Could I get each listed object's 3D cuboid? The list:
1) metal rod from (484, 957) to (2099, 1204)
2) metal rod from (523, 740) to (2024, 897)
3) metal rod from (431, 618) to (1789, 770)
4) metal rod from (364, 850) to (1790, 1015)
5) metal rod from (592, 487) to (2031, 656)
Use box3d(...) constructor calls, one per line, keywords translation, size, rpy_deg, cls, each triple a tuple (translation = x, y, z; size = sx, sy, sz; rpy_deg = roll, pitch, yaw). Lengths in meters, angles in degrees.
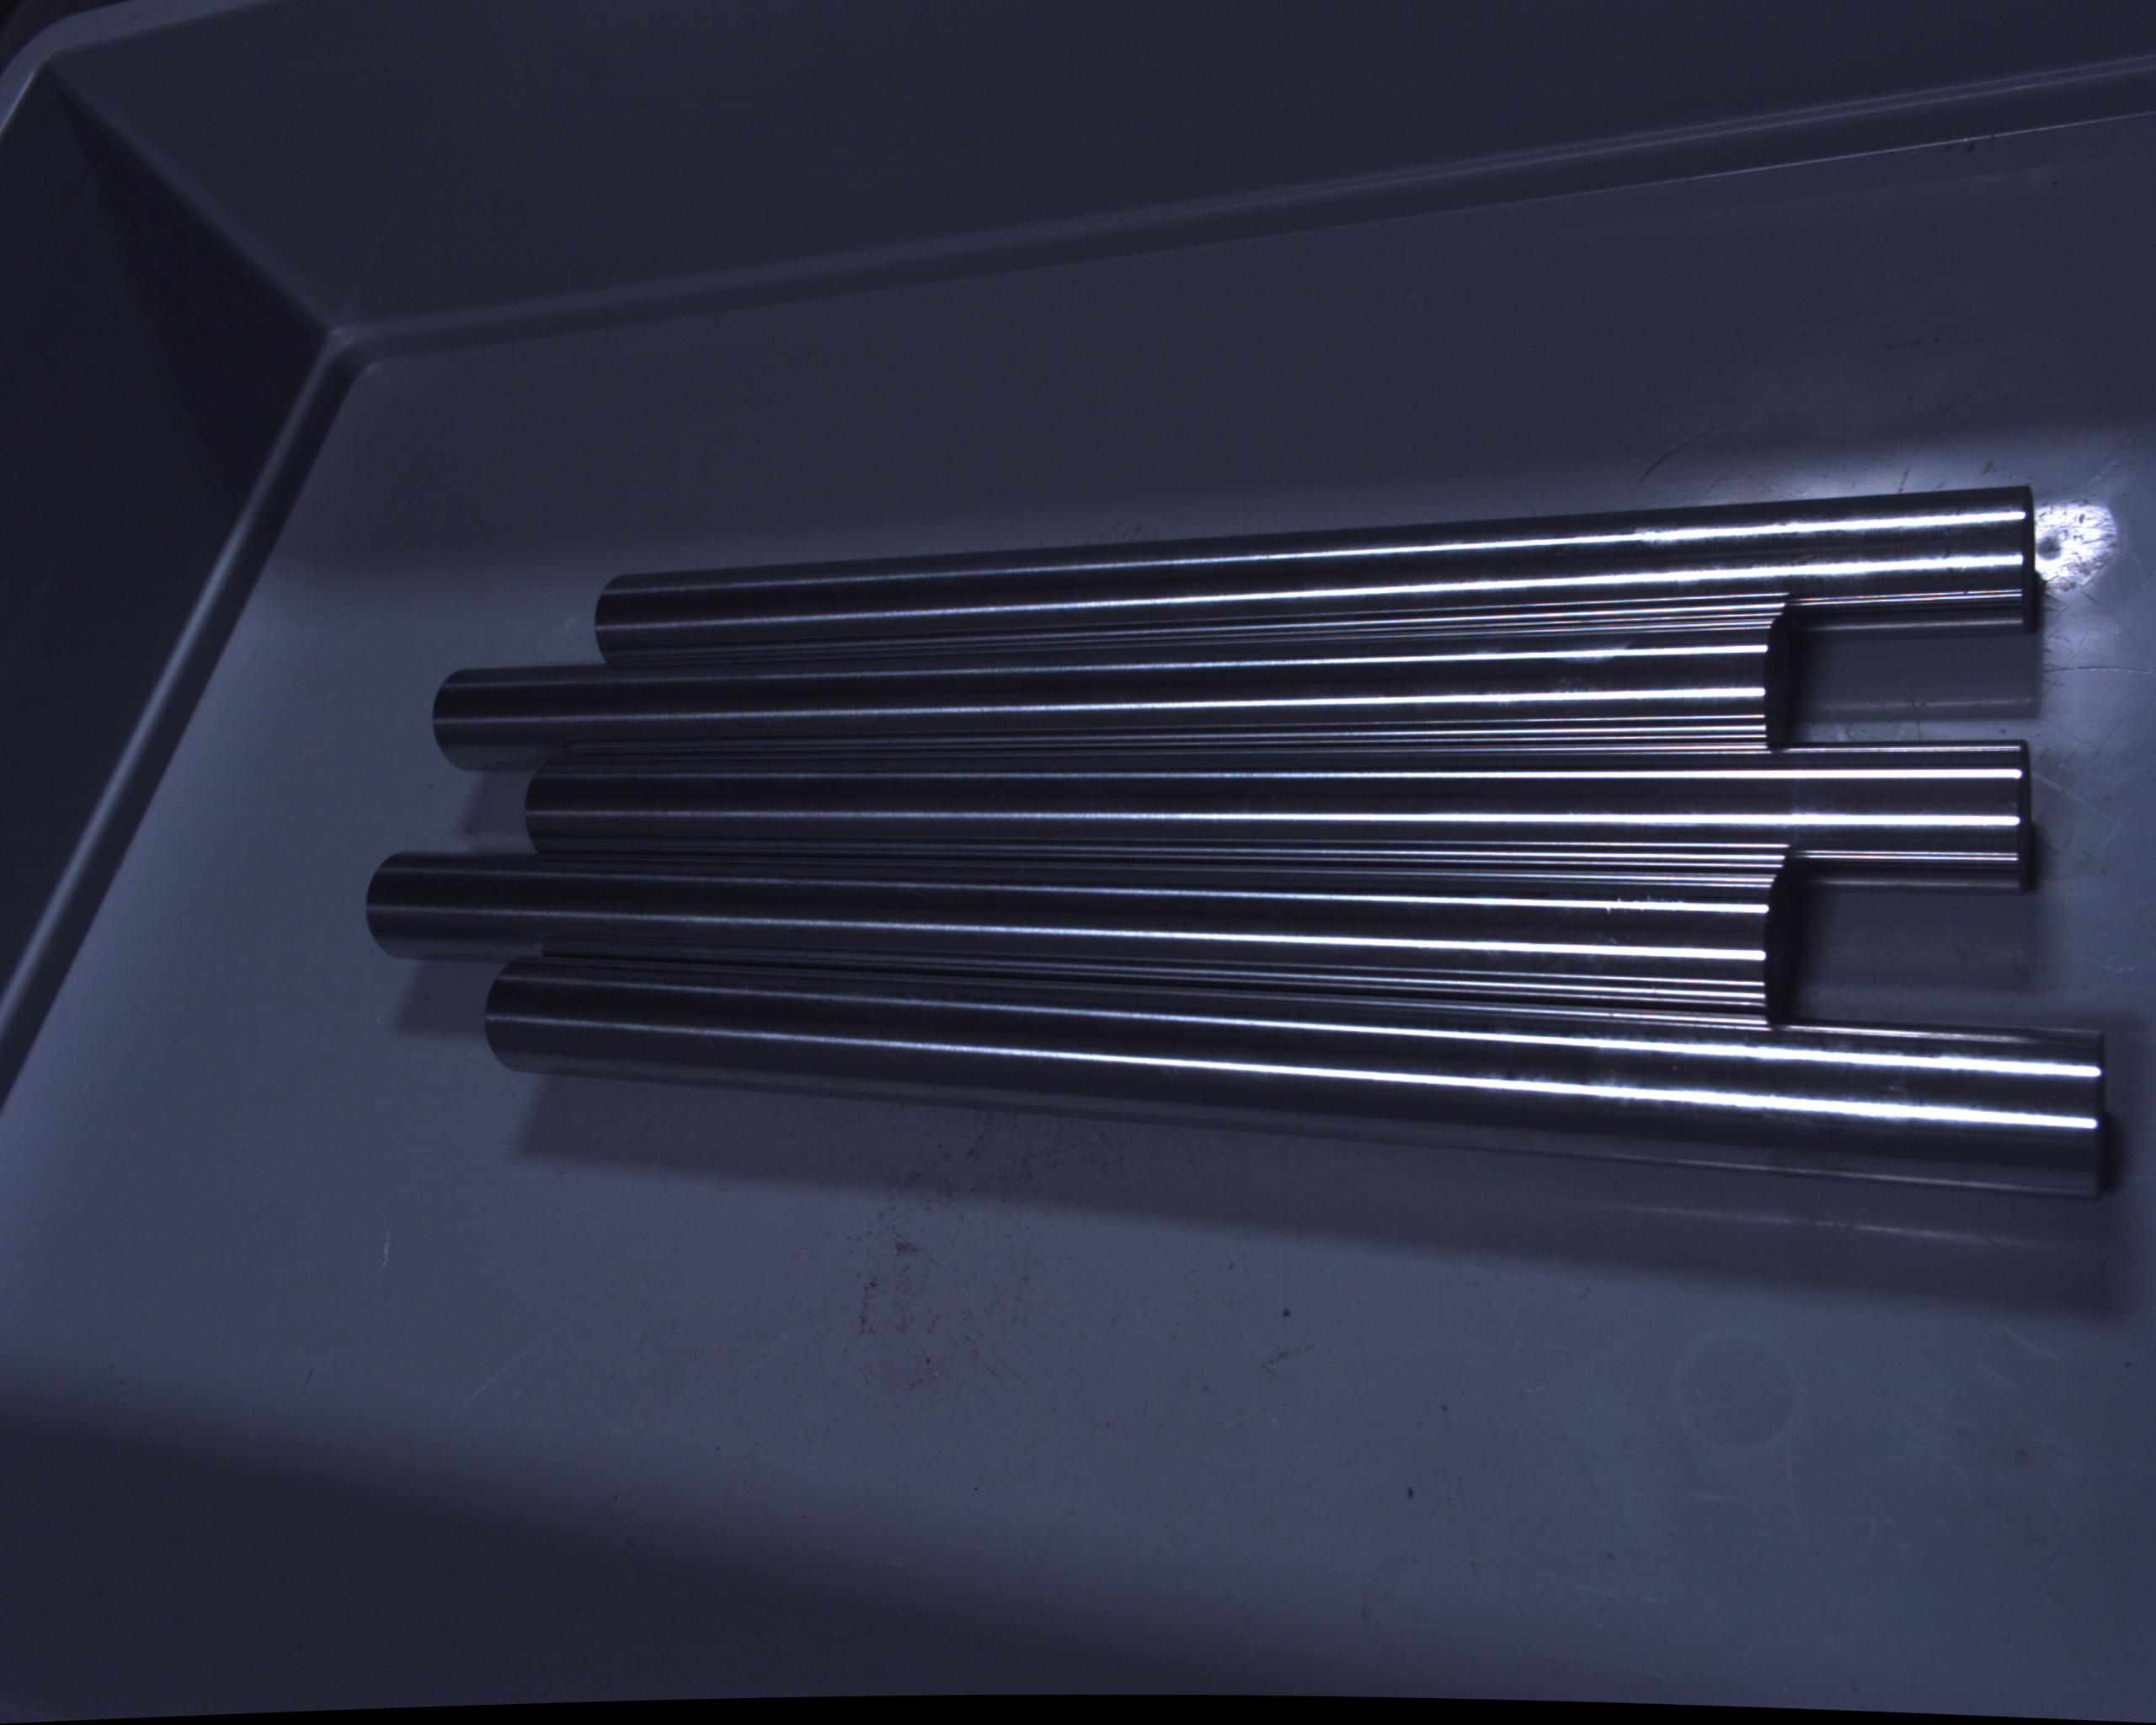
box3d(translation=(0.015, 0.035, 0.373), size=(0.300, 0.025, 0.025), rpy_deg=(1, 62, 28), cls="metal rod")
box3d(translation=(0.017, -0.009, 0.400), size=(0.300, 0.025, 0.025), rpy_deg=(1, 62, 28), cls="metal rod")
box3d(translation=(-0.013, -0.032, 0.429), size=(0.300, 0.025, 0.025), rpy_deg=(1, 62, 28), cls="metal rod")
box3d(translation=(-0.020, 0.012, 0.406), size=(0.300, 0.025, 0.025), rpy_deg=(1, 62, 28), cls="metal rod")
box3d(translation=(0.027, -0.053, 0.421), size=(0.300, 0.025, 0.025), rpy_deg=(1, 62, 28), cls="metal rod")
